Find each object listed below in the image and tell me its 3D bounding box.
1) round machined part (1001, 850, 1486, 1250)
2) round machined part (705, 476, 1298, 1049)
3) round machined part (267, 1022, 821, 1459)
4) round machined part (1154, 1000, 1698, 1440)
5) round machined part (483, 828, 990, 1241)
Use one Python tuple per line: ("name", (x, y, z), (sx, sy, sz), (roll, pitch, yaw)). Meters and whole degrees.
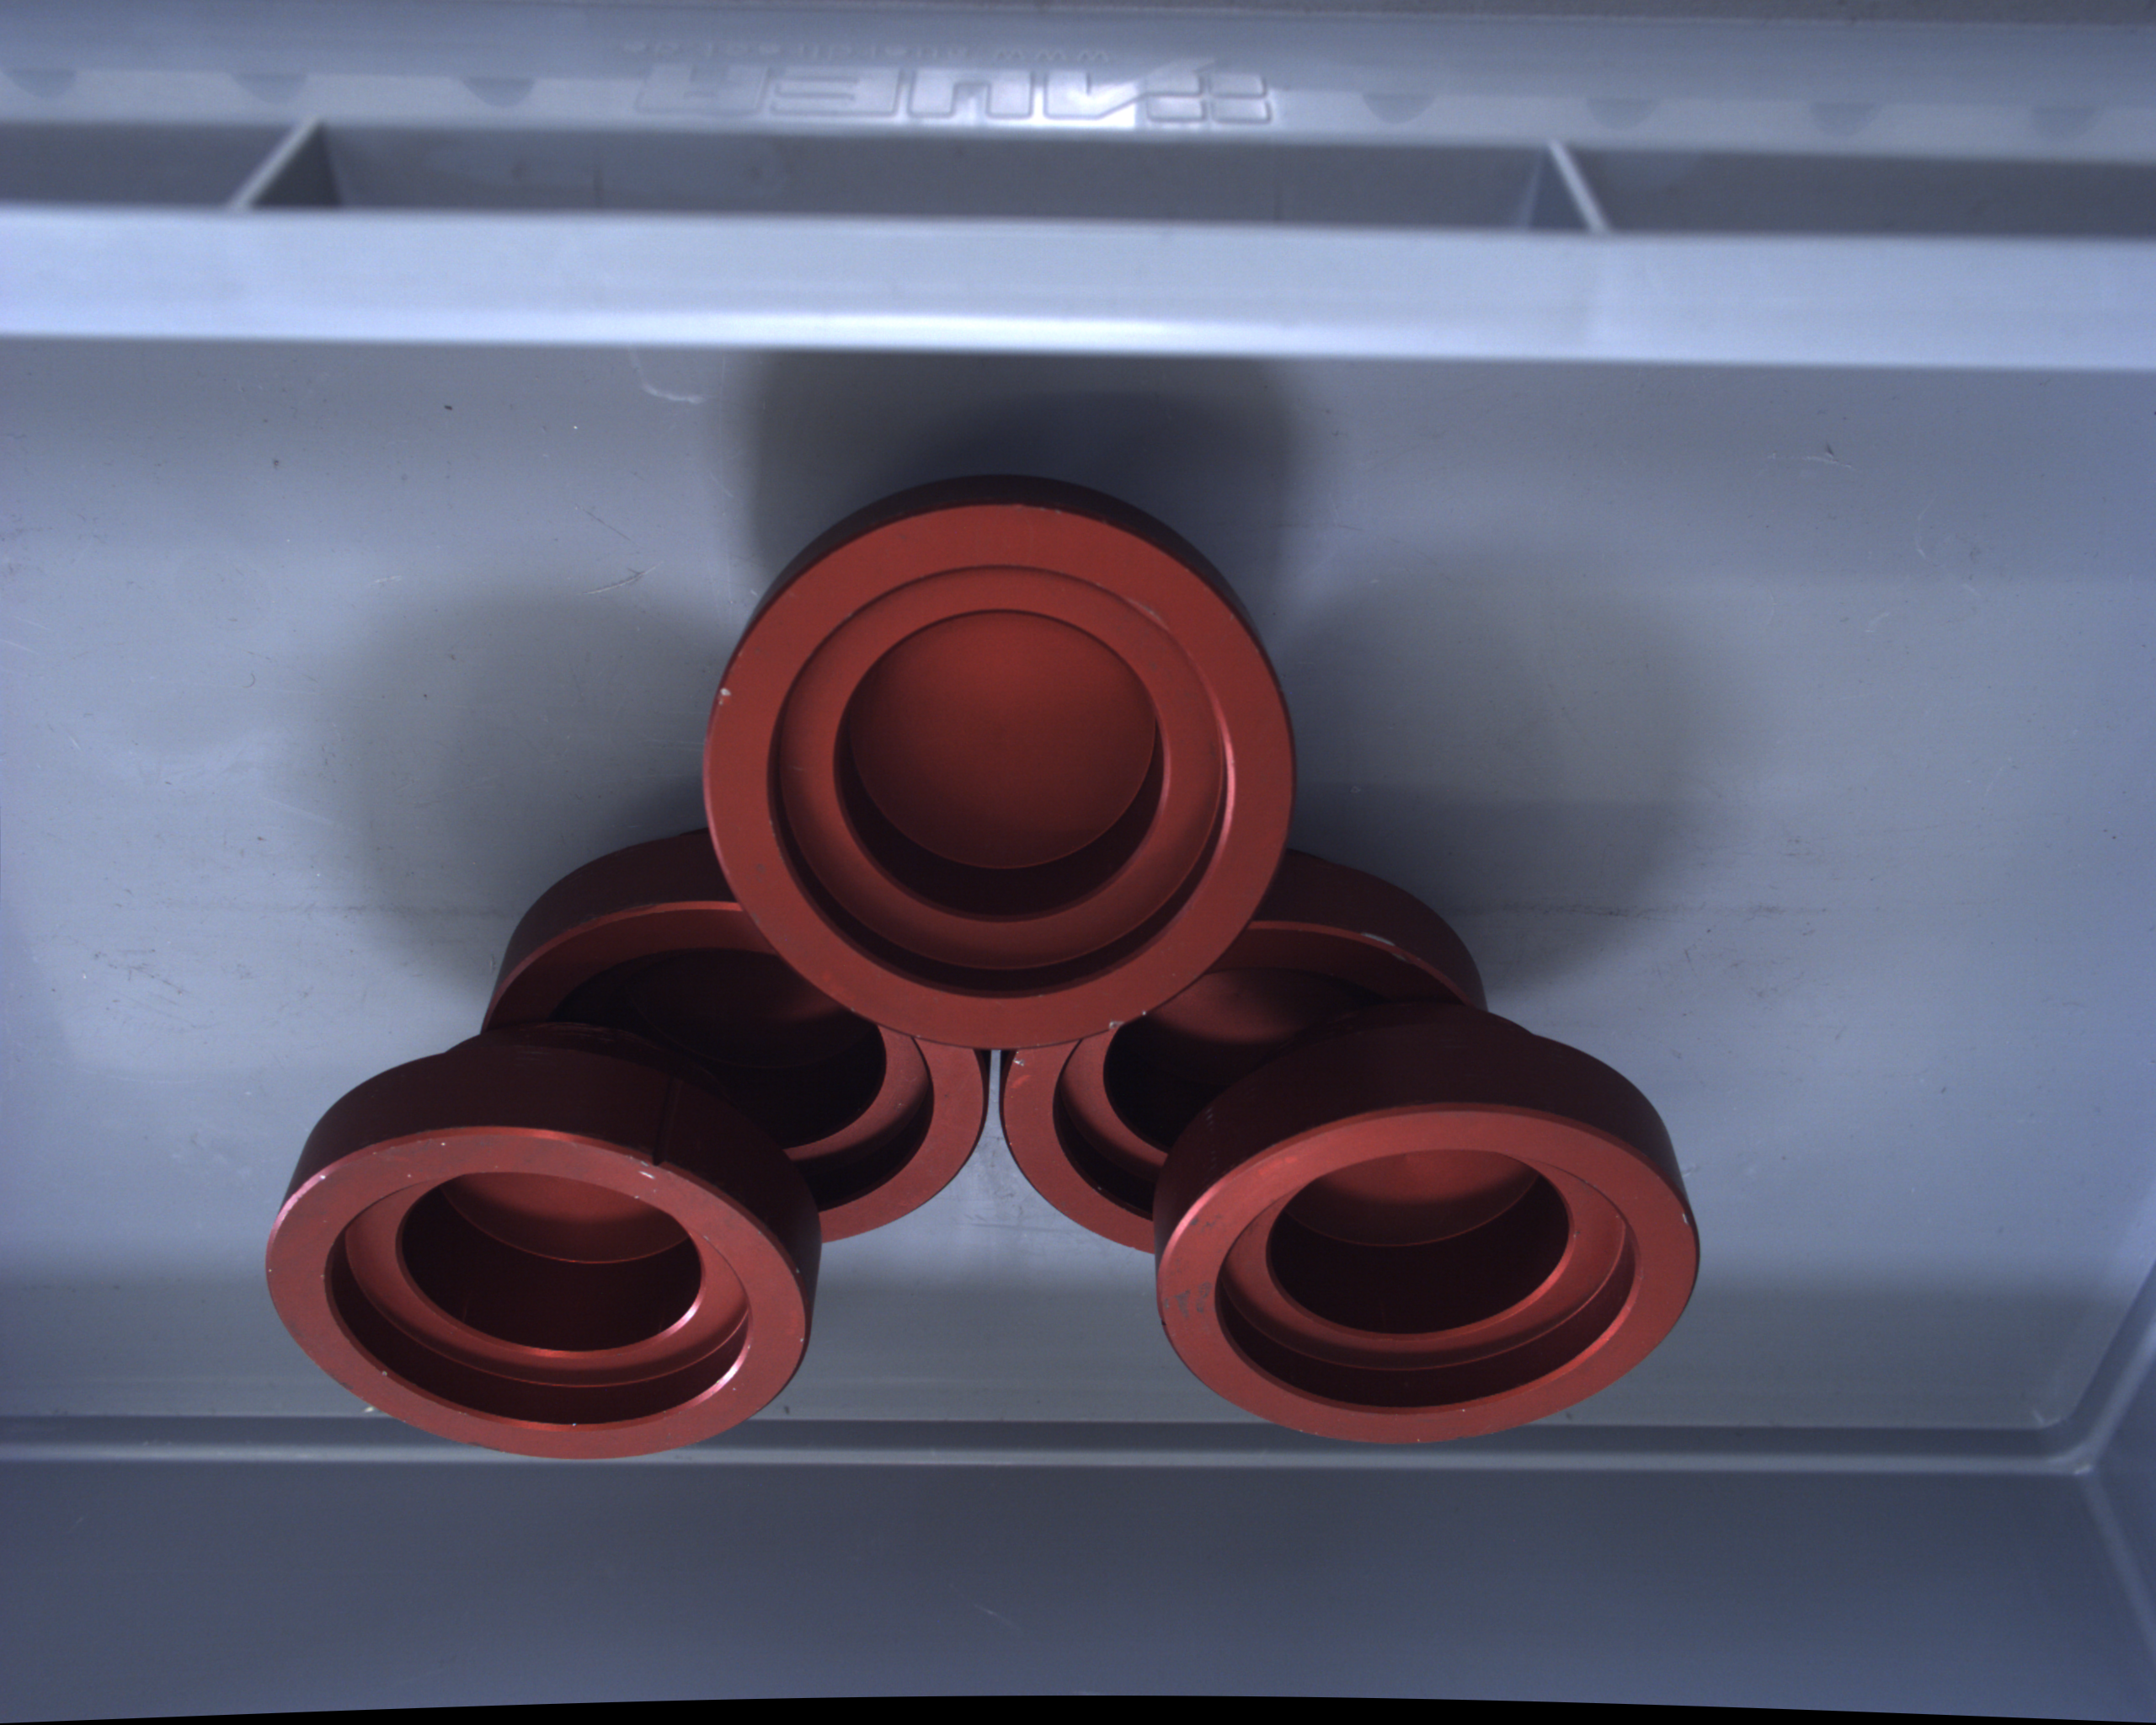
("round machined part", (0.034, 0.035, 0.426), (0.099, 0.042, 0.097), (0, 130, 0))
("round machined part", (-0.013, -0.020, 0.366), (0.099, 0.042, 0.097), (-1, 112, -1))
("round machined part", (-0.098, 0.069, 0.399), (0.099, 0.042, 0.097), (0, 130, 0))
("round machined part", (0.063, 0.064, 0.397), (0.099, 0.042, 0.097), (0, 130, 0))
("round machined part", (-0.067, 0.031, 0.422), (0.099, 0.042, 0.097), (0, 130, 0))
